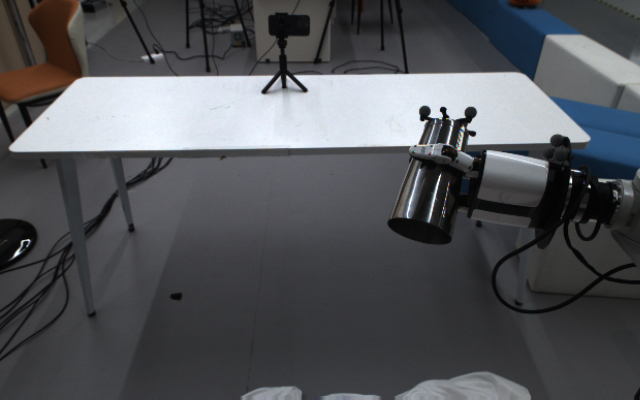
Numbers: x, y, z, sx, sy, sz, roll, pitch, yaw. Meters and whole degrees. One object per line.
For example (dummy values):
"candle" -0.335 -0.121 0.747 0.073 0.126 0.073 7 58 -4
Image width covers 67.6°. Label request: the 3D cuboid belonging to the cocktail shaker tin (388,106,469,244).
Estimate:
"cocktail shaker tin" 0.164 -0.033 0.705 0.093 0.093 0.170 14 69 17
